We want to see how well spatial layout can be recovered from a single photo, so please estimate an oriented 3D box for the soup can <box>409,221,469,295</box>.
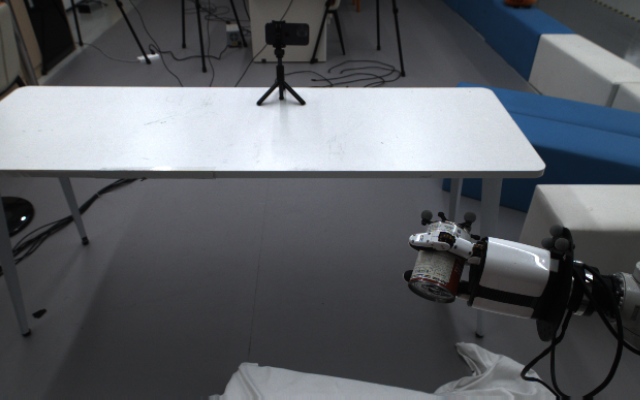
[{"bbox_3d":[0.176,0.087,0.704,0.067,0.067,0.101,15,63,18],"label":"soup can"}]
